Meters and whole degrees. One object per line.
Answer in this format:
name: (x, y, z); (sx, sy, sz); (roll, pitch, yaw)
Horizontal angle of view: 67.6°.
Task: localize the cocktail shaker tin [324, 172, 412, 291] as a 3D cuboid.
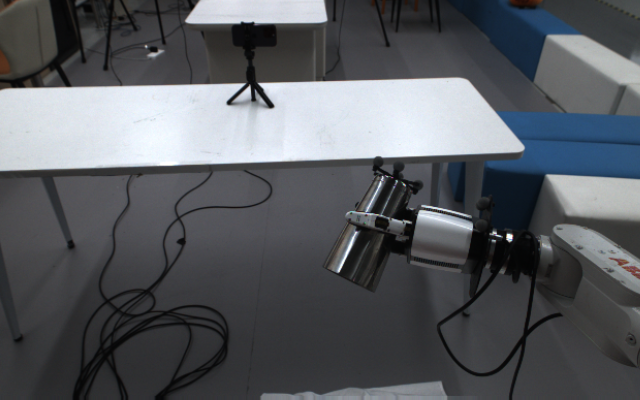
cocktail shaker tin: (0.083, 0.044, 0.766); (0.093, 0.093, 0.170); (21, 81, 25)
